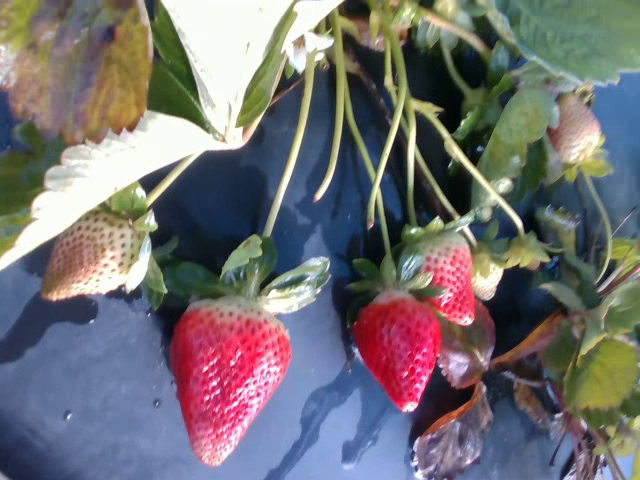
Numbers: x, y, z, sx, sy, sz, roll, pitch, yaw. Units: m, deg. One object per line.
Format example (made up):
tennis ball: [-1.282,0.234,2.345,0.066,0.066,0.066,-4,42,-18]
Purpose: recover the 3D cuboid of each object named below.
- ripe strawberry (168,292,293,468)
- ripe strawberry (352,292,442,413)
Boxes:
ripe strawberry: [-0.035,0.051,0.228,0.050,0.065,0.050,16,-32,-11]
ripe strawberry: [0.034,0.051,0.280,0.044,0.055,0.042,-6,-25,-2]
